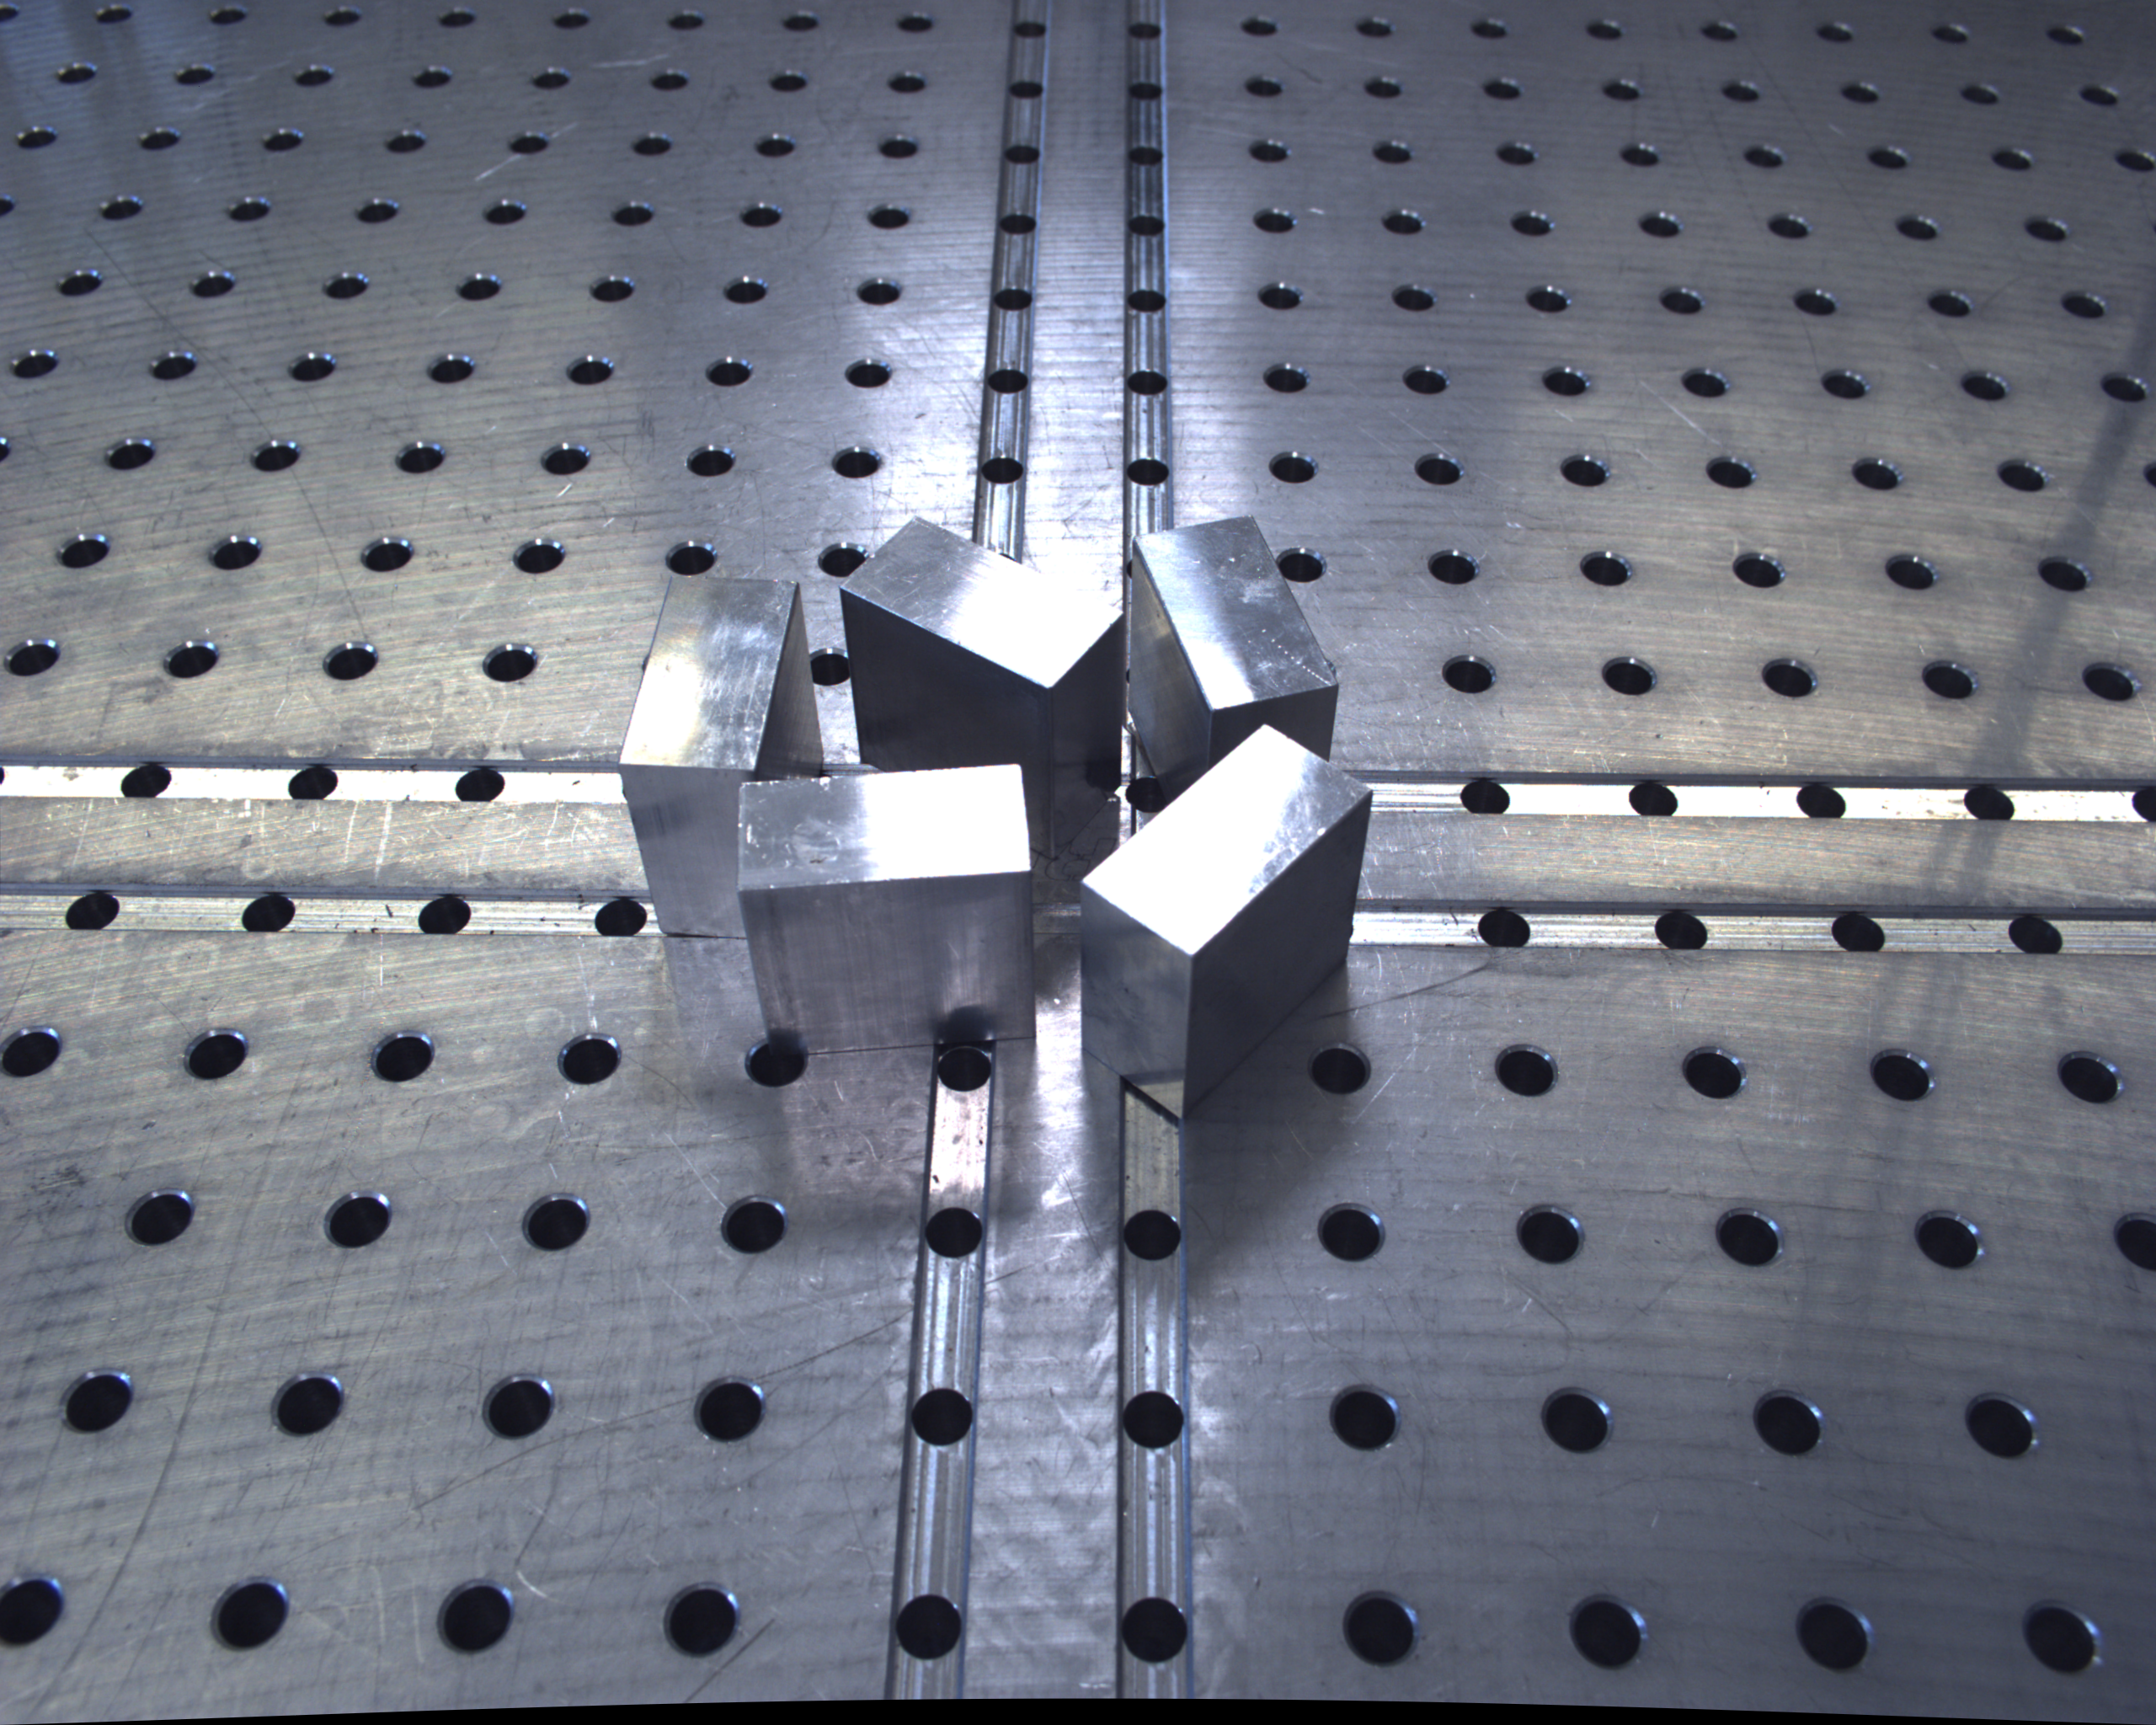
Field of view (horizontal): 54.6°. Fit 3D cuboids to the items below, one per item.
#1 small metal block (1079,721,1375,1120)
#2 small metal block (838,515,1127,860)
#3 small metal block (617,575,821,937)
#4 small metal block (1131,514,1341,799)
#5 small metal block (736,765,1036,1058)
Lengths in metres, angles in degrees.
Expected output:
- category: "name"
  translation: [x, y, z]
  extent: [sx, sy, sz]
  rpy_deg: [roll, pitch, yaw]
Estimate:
- category: "small metal block"
  translation: [0.027, 0.011, 0.382]
  extent: [0.025, 0.050, 0.050]
  rpy_deg: [34, 58, 26]
- category: "small metal block"
  translation: [-0.018, -0.035, 0.421]
  extent: [0.050, 0.050, 0.025]
  rpy_deg: [27, 56, 20]
- category: "small metal block"
  translation: [-0.068, -0.020, 0.408]
  extent: [0.025, 0.050, 0.050]
  rpy_deg: [3, 51, 3]
- category: "small metal block"
  translation: [0.030, -0.033, 0.419]
  extent: [0.025, 0.050, 0.050]
  rpy_deg: [-12, 50, -10]
- category: "small metal block"
  translation: [-0.034, 0.010, 0.383]
  extent: [0.050, 0.050, 0.025]
  rpy_deg: [-4, 50, -3]
